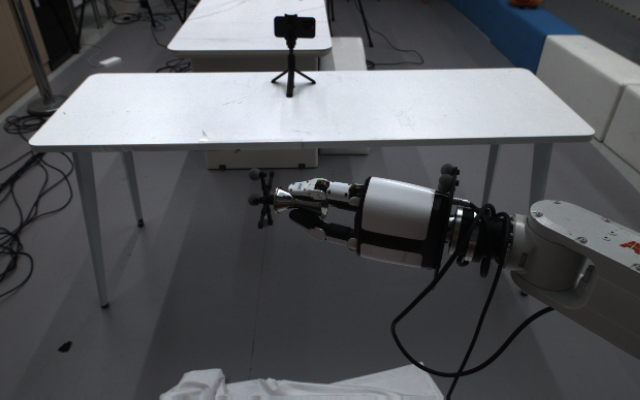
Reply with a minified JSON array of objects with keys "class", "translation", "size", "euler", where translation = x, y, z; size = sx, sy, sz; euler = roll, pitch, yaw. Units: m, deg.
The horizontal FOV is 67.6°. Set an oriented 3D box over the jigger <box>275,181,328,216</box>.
[{"class":"jigger","translation":[-0.019,-0.001,0.670],"size":[0.071,0.043,0.043],"euler":[3,34,13]}]
